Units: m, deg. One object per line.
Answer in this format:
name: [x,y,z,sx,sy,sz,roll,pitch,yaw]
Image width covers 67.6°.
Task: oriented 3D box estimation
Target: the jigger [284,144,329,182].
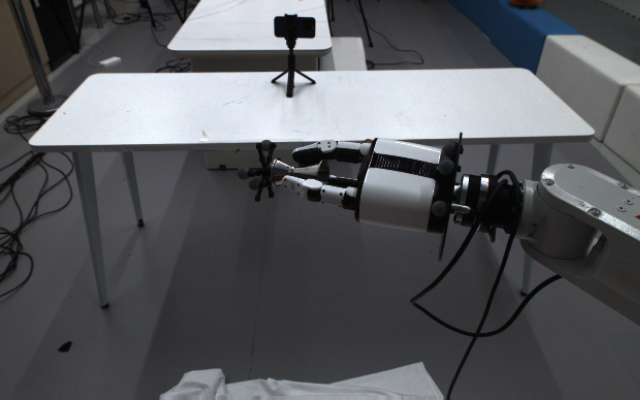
jigger: [-0.019,-0.041,0.644,0.071,0.043,0.043,4,34,20]
